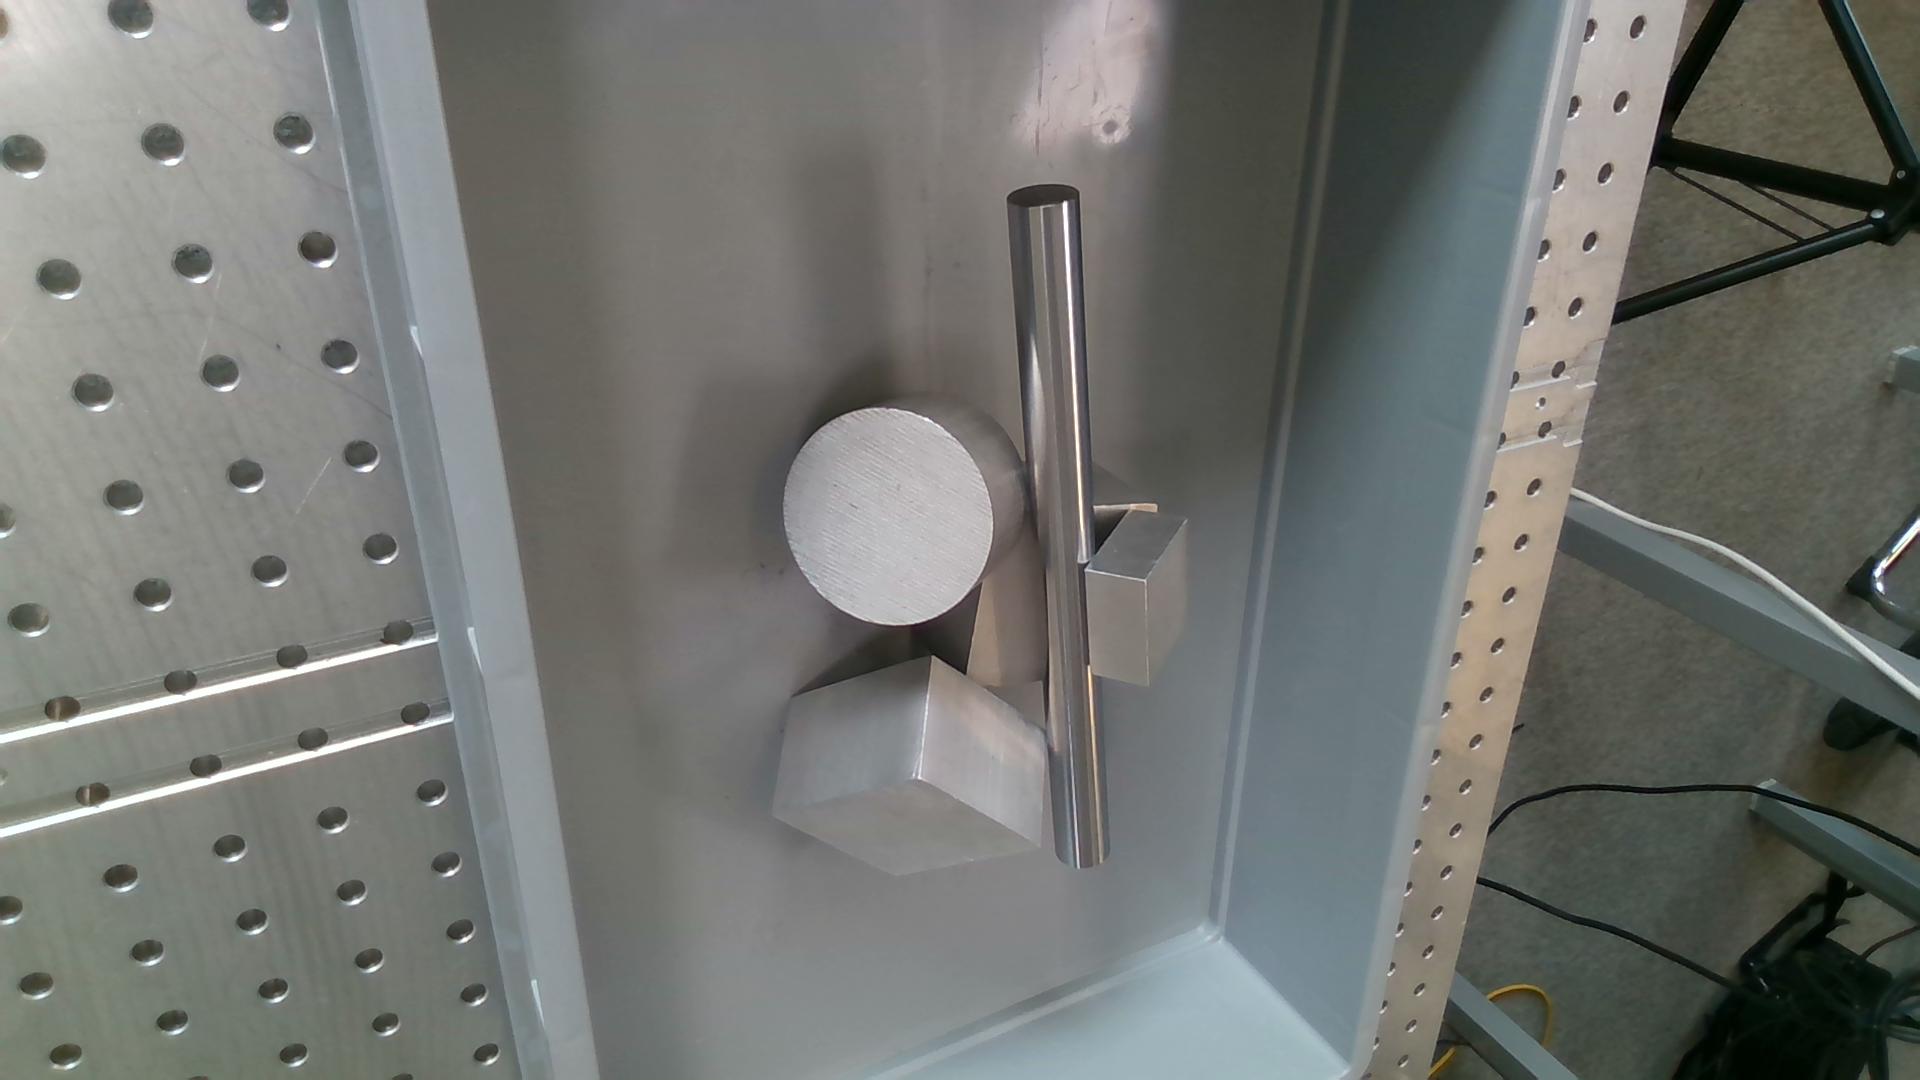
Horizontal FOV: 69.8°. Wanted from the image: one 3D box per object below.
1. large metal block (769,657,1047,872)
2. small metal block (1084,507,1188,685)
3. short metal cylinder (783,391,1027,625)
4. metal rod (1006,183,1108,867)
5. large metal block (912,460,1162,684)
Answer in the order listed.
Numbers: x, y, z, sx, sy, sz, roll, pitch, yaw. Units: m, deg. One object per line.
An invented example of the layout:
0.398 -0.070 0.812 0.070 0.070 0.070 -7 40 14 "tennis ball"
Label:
-0.020 0.097 0.577 0.080 0.050 0.080 -20 140 34 "large metal block"
0.072 0.022 0.556 0.050 0.025 0.050 -48 140 -48 "small metal block"
-0.020 -0.014 0.517 0.050 0.080 0.080 -38 148 -69 "short metal cylinder"
0.042 0.011 0.547 0.025 0.025 0.301 -20 123 -22 "metal rod"
0.031 0.012 0.589 0.080 0.050 0.080 -4 117 -30 "large metal block"
